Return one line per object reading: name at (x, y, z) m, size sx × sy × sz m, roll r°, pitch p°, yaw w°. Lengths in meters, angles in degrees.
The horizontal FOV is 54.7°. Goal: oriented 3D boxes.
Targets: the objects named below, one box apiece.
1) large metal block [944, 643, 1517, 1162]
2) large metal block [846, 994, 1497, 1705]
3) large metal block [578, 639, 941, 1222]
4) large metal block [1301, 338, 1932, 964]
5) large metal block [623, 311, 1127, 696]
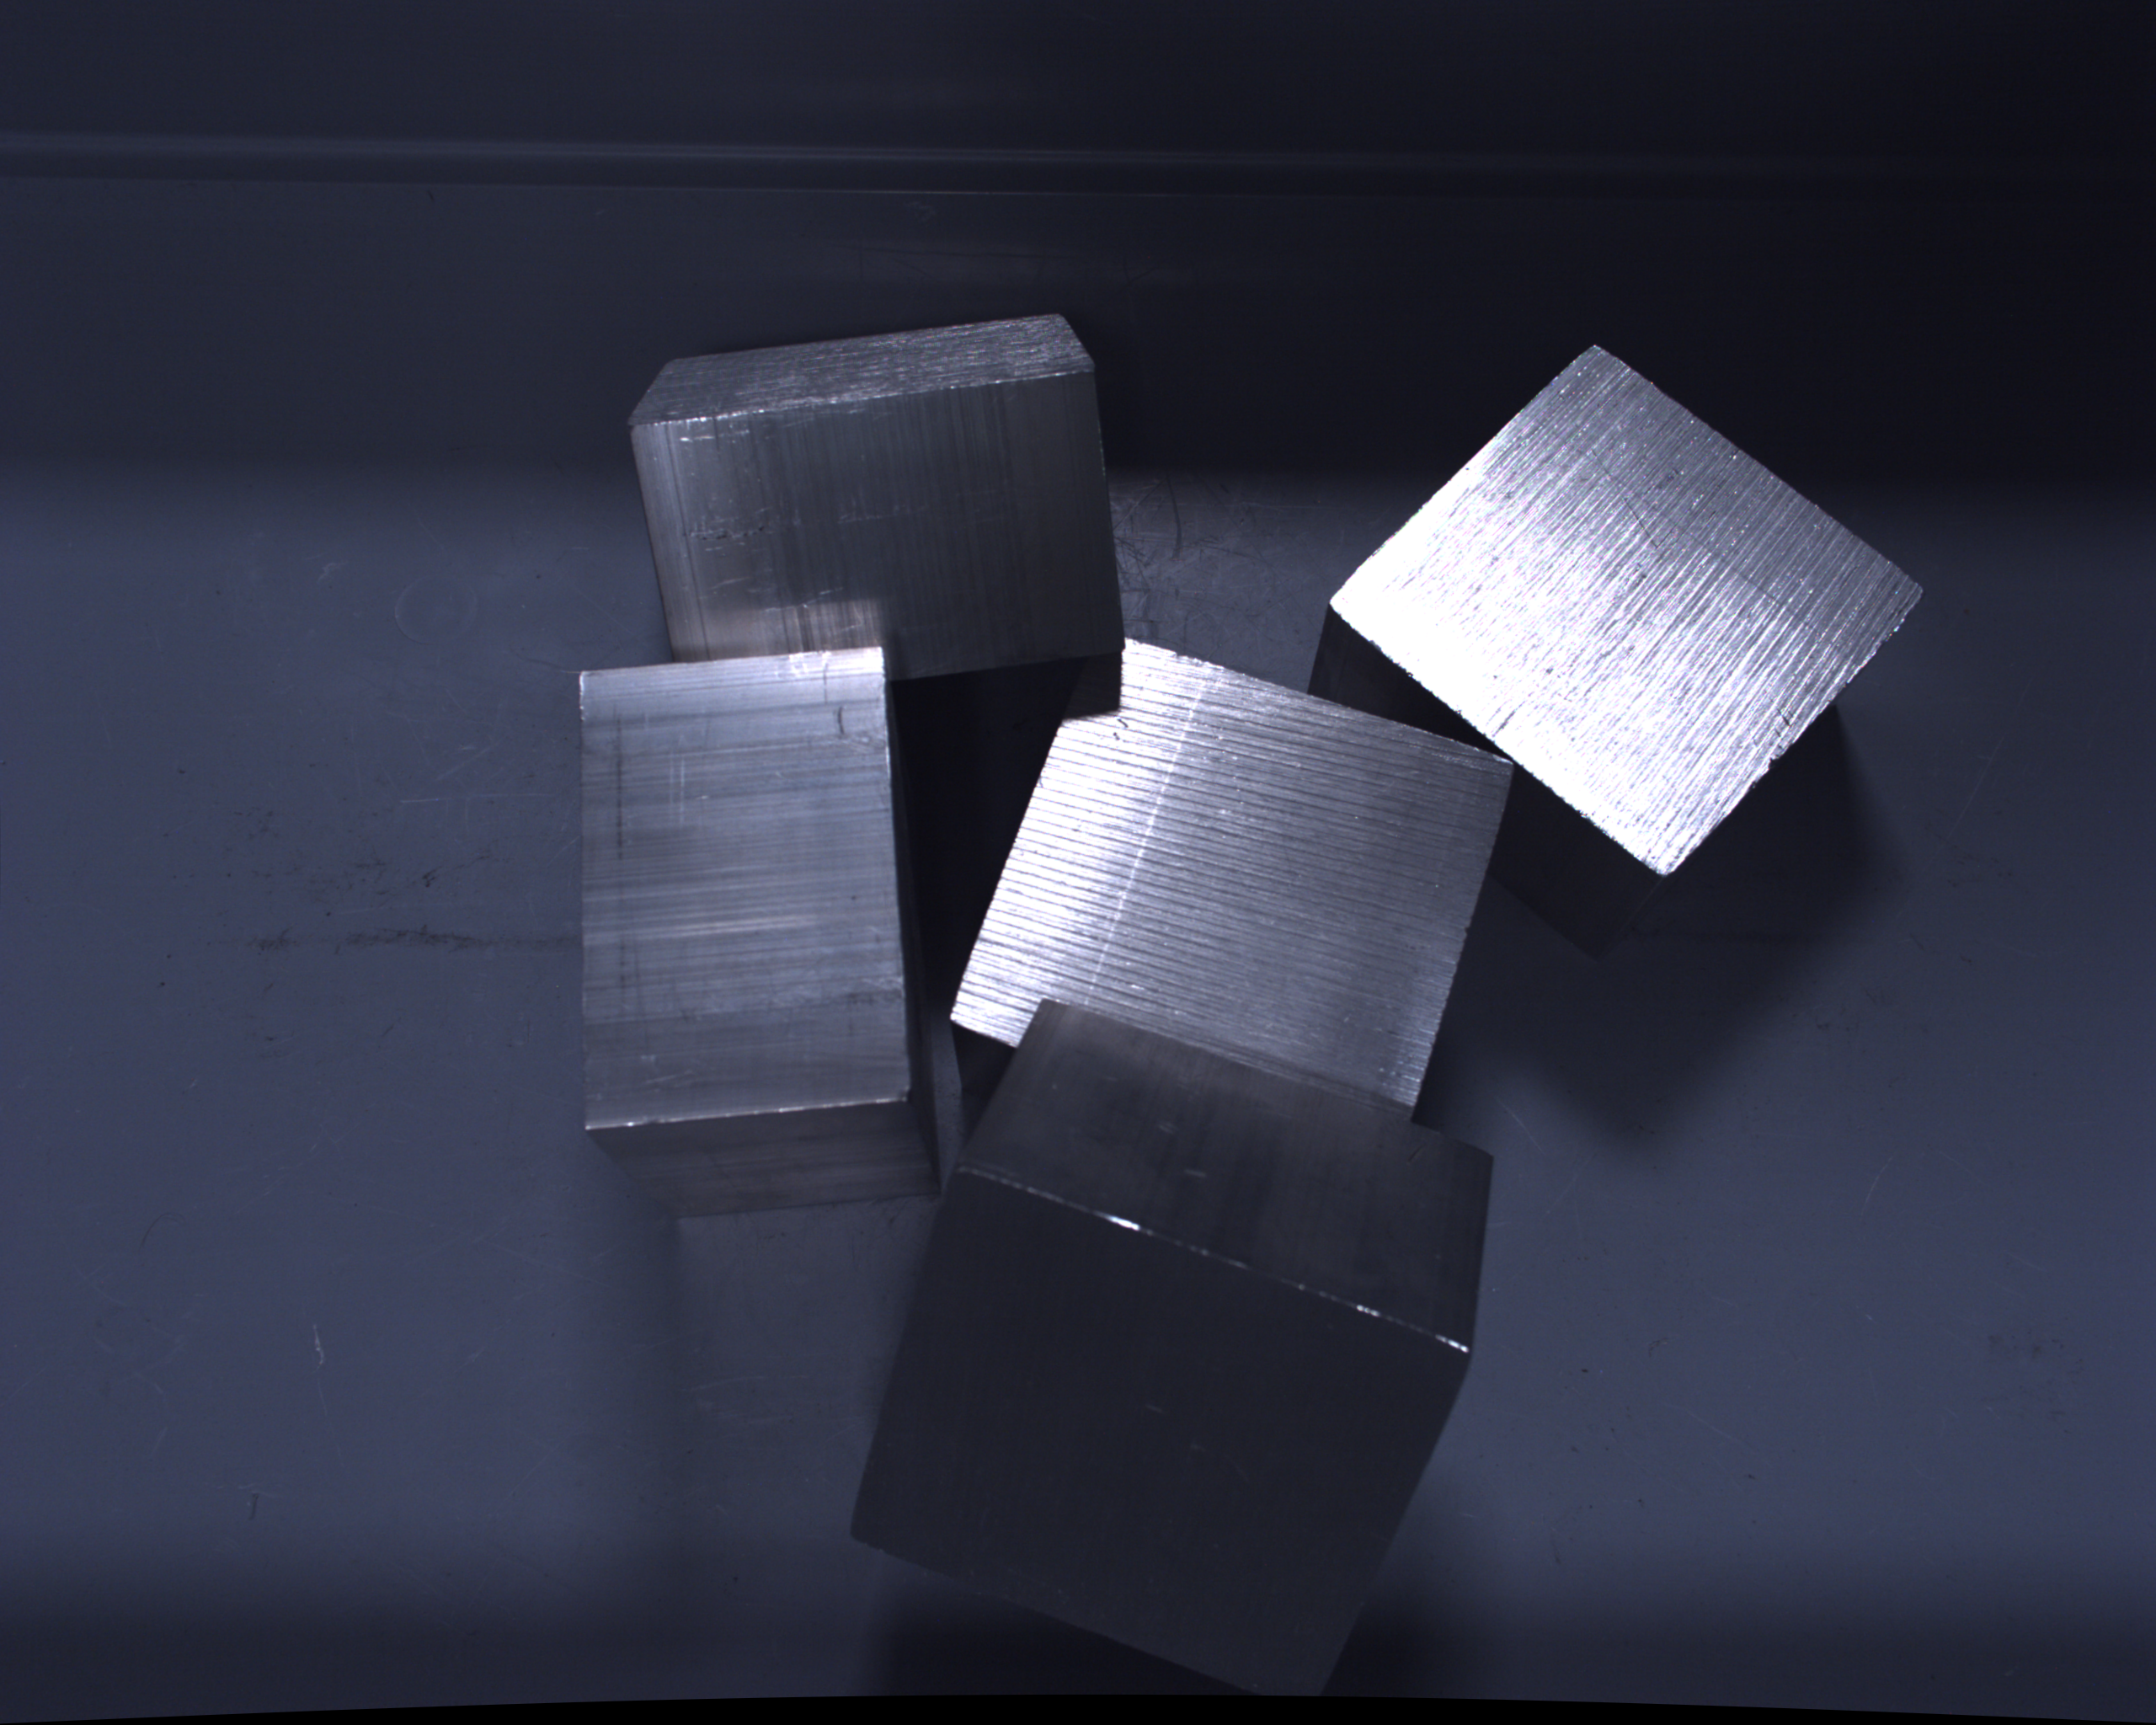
large metal block at (0.028, 0.013, 0.391) m, size 0.080 × 0.050 × 0.080 m, roll 18°, pitch 71°, yaw 6°
large metal block at (0.015, 0.079, 0.343) m, size 0.080 × 0.079 × 0.050 m, roll 19°, pitch 29°, yaw 5°
large metal block at (-0.055, 0.015, 0.373) m, size 0.050 × 0.080 × 0.080 m, roll -5°, pitch 70°, yaw -2°
large metal block at (0.102, -0.041, 0.411) m, size 0.080 × 0.050 × 0.080 m, roll 42°, pitch 75°, yaw 13°
large metal block at (-0.037, -0.070, 0.398) m, size 0.081 × 0.080 × 0.050 m, roll -7°, pitch 112°, yaw -2°
